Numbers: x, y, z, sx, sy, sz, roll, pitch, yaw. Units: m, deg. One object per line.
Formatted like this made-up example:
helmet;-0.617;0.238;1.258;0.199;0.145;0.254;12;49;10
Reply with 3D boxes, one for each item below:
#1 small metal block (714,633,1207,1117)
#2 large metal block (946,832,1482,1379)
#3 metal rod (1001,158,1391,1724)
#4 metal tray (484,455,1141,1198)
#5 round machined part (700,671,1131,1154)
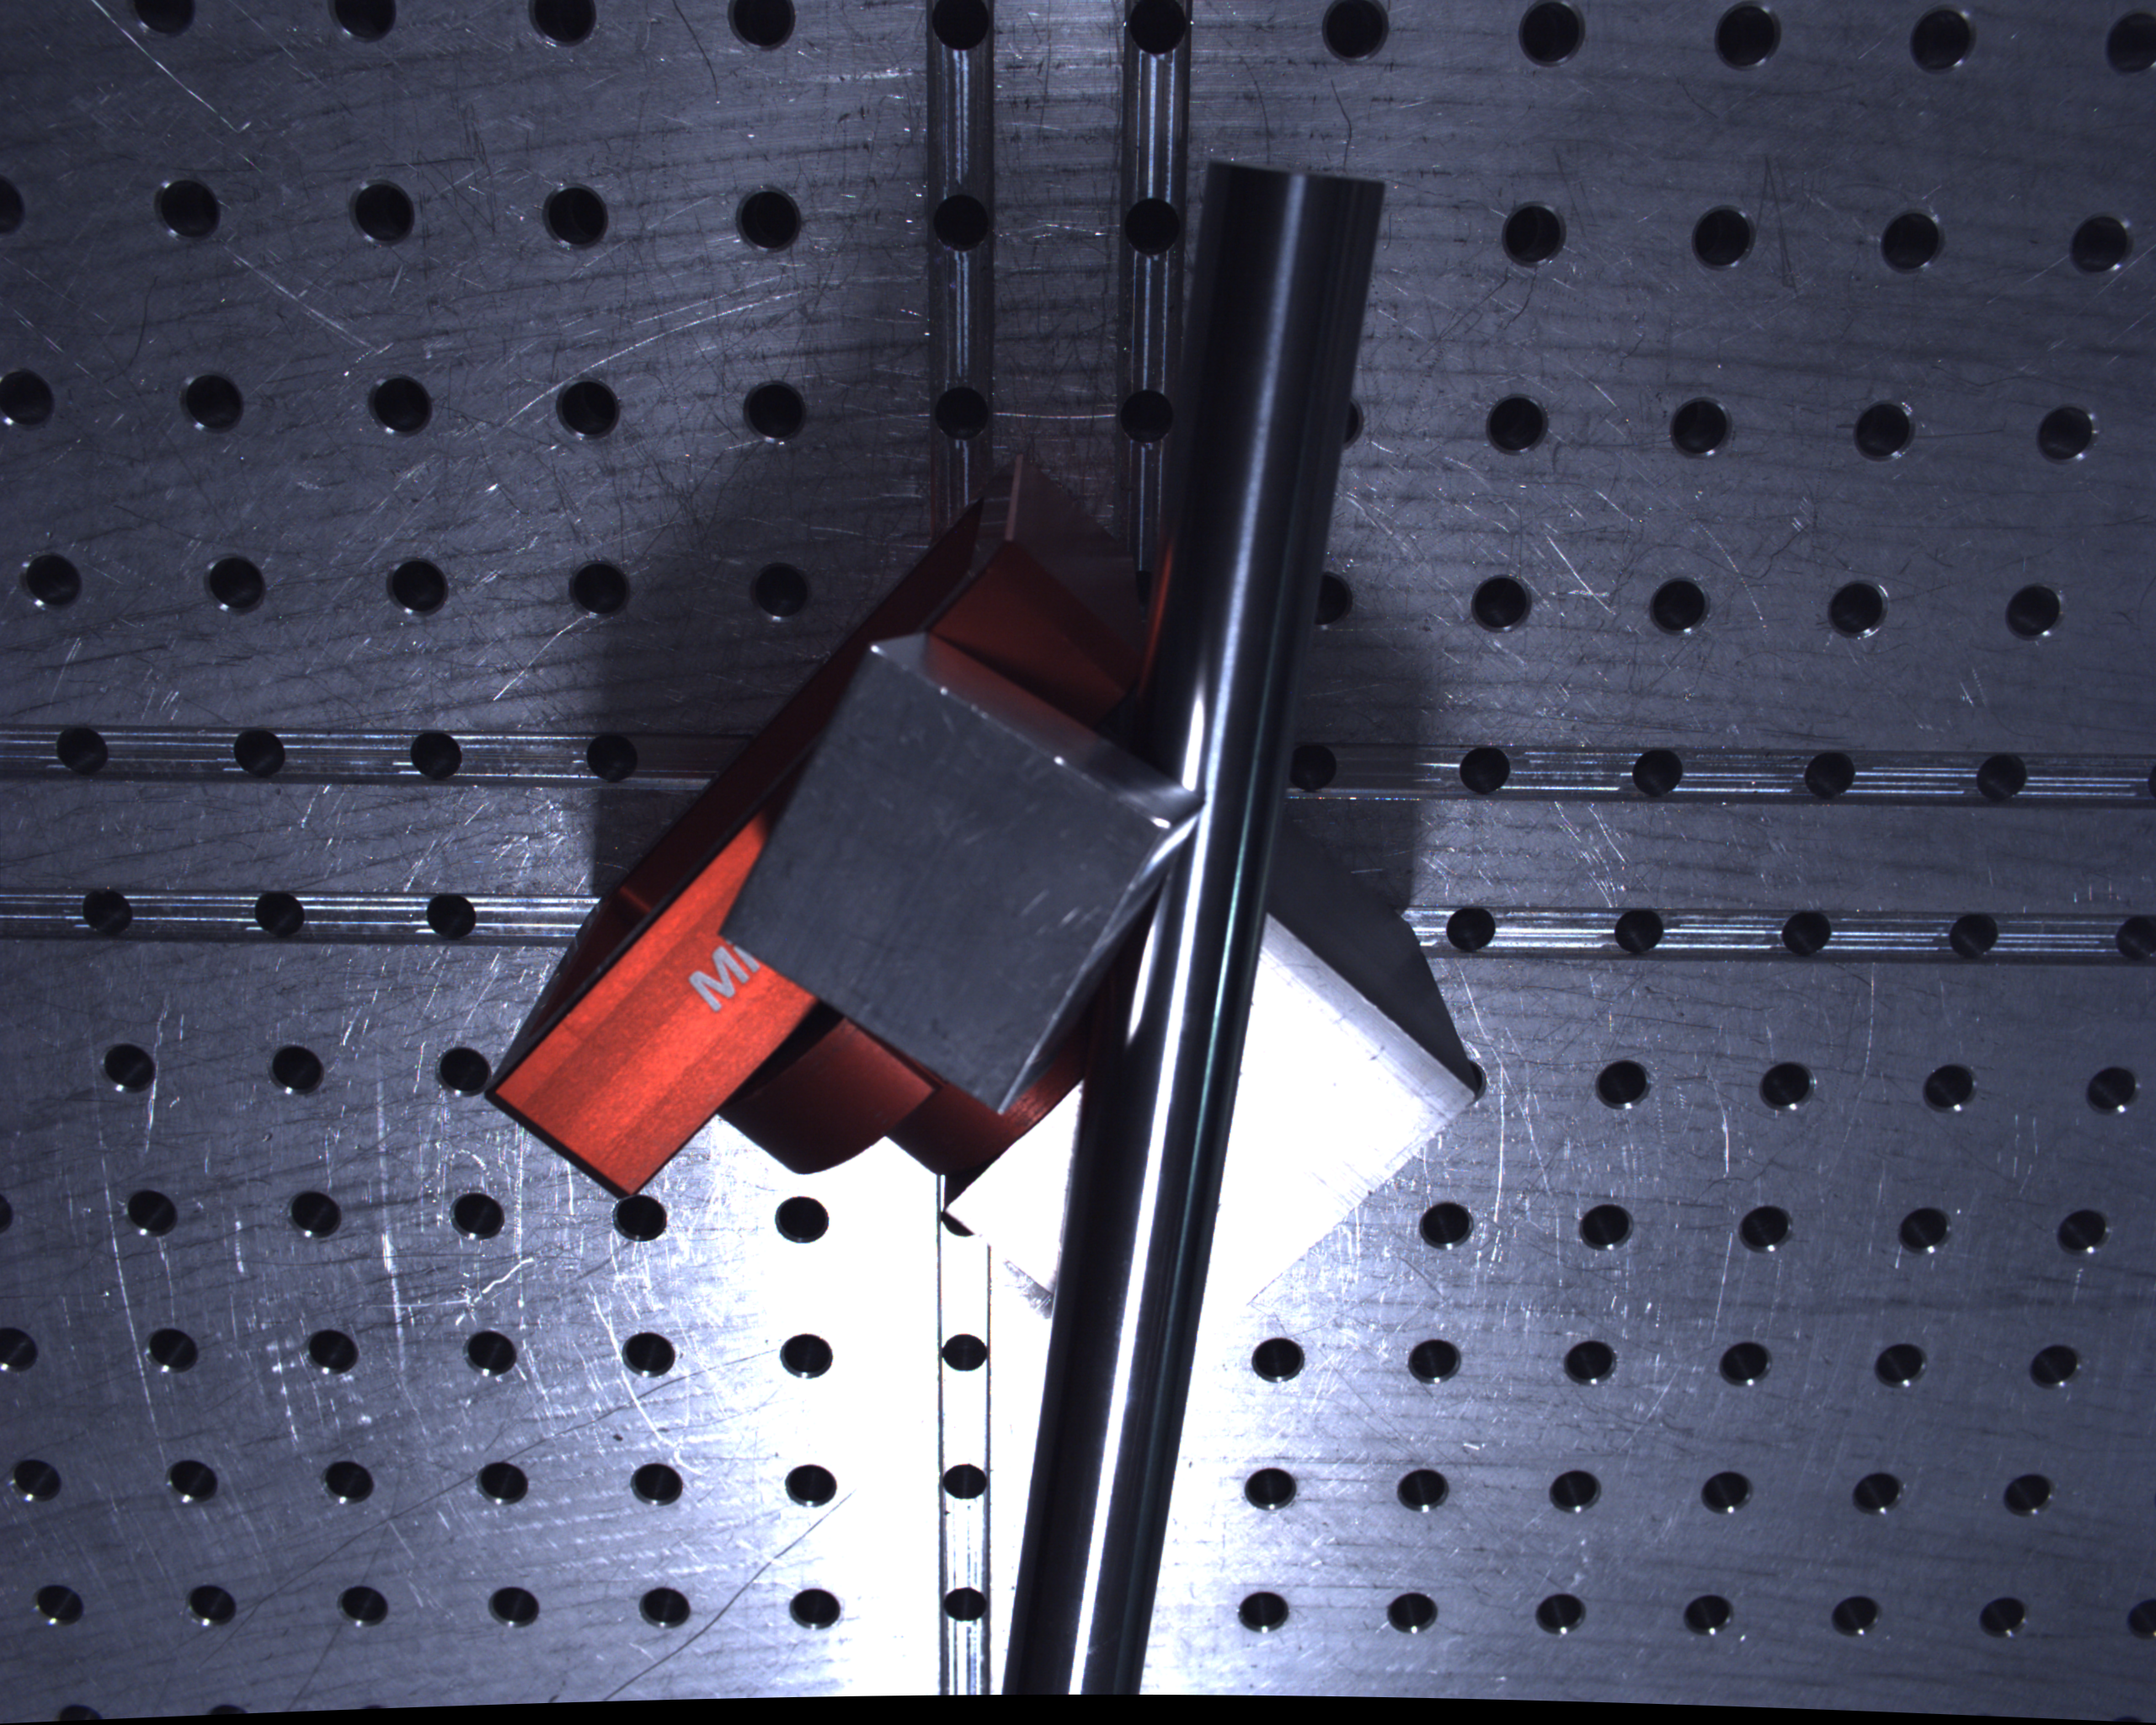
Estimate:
small metal block;-0.017;0.001;0.309;0.050;0.025;0.050;32;106;8
large metal block;0.023;0.039;0.396;0.050;0.080;0.080;41;105;-14
metal rod;0.013;0.041;0.343;0.025;0.025;0.298;6;110;-3
metal tray;-0.045;-0.010;0.374;0.030;0.090;0.130;42;105;-14
round machined part;-0.022;0.014;0.384;0.042;0.098;0.098;41;105;-14
